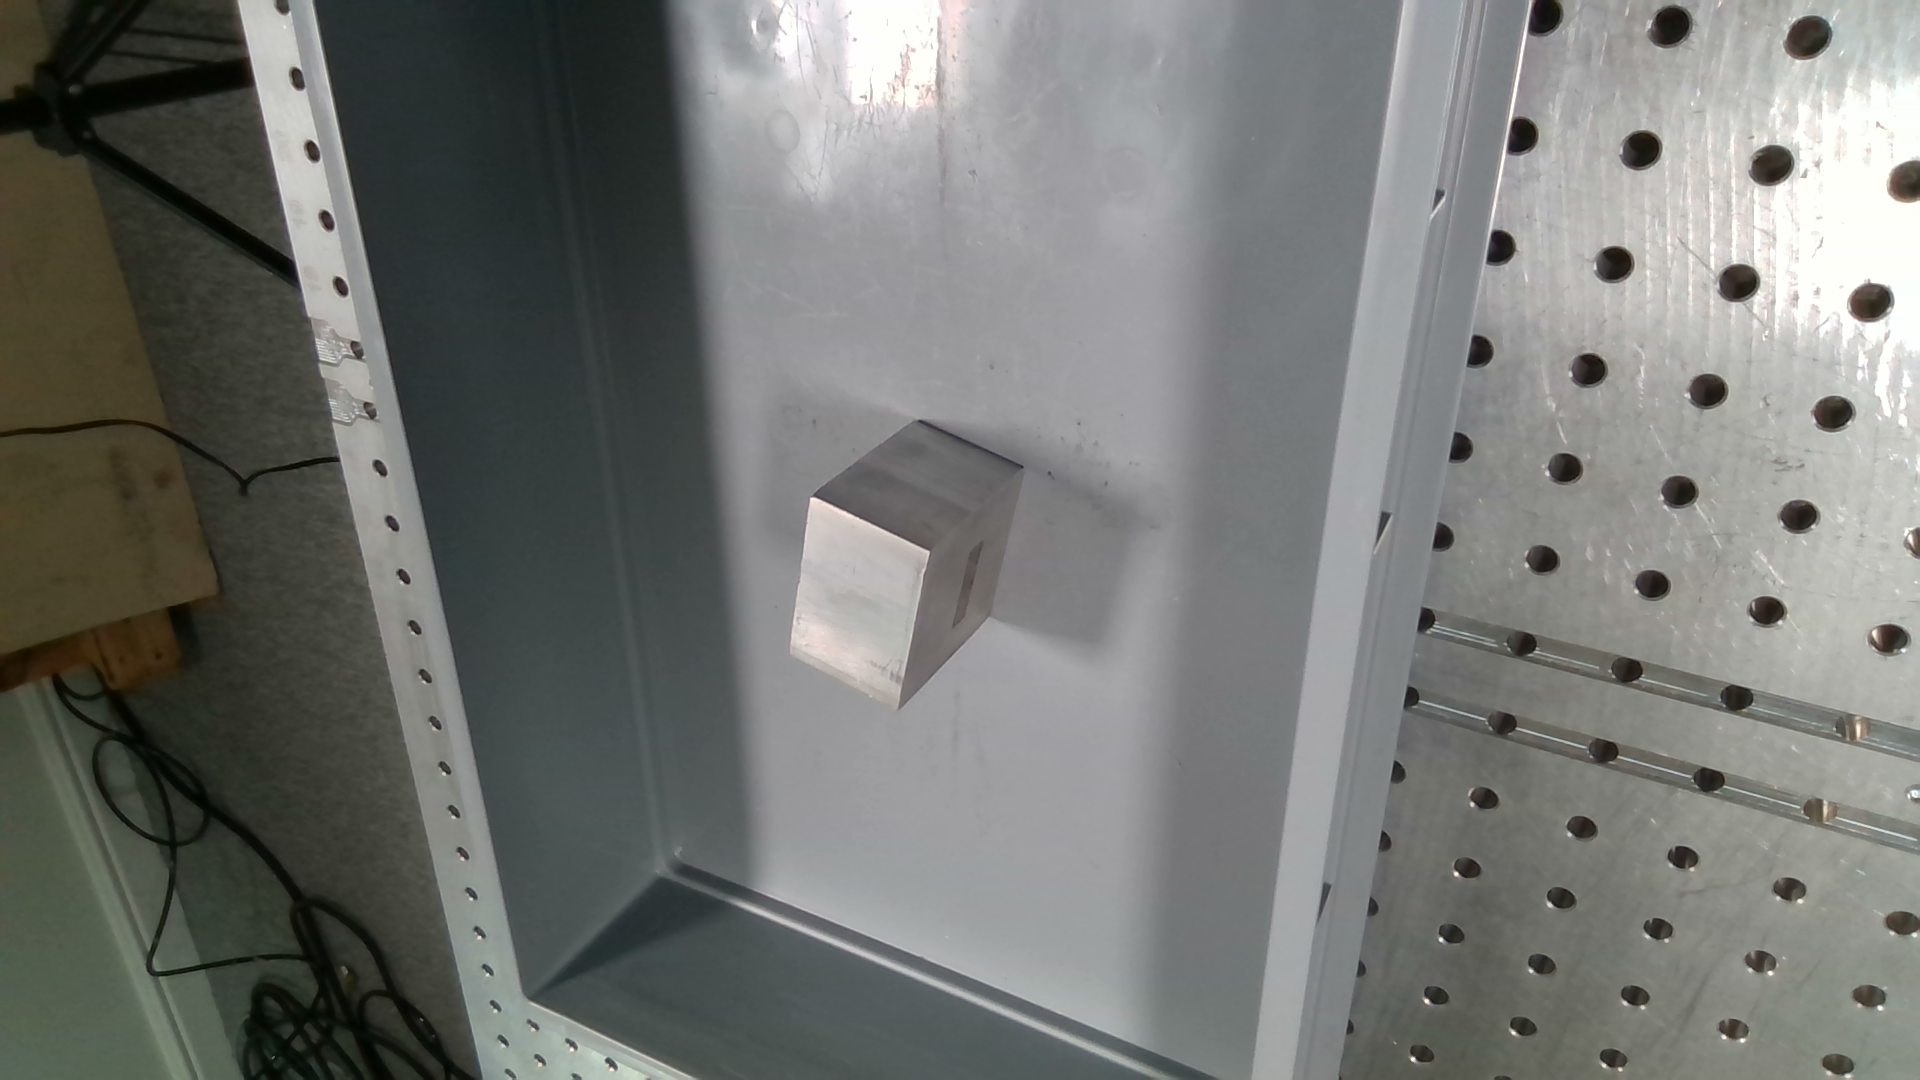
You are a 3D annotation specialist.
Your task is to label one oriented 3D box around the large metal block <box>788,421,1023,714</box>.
[{"bbox_3d":[-0.022,0.009,0.561,0.050,0.080,0.080,25,126,18],"label":"large metal block"}]
